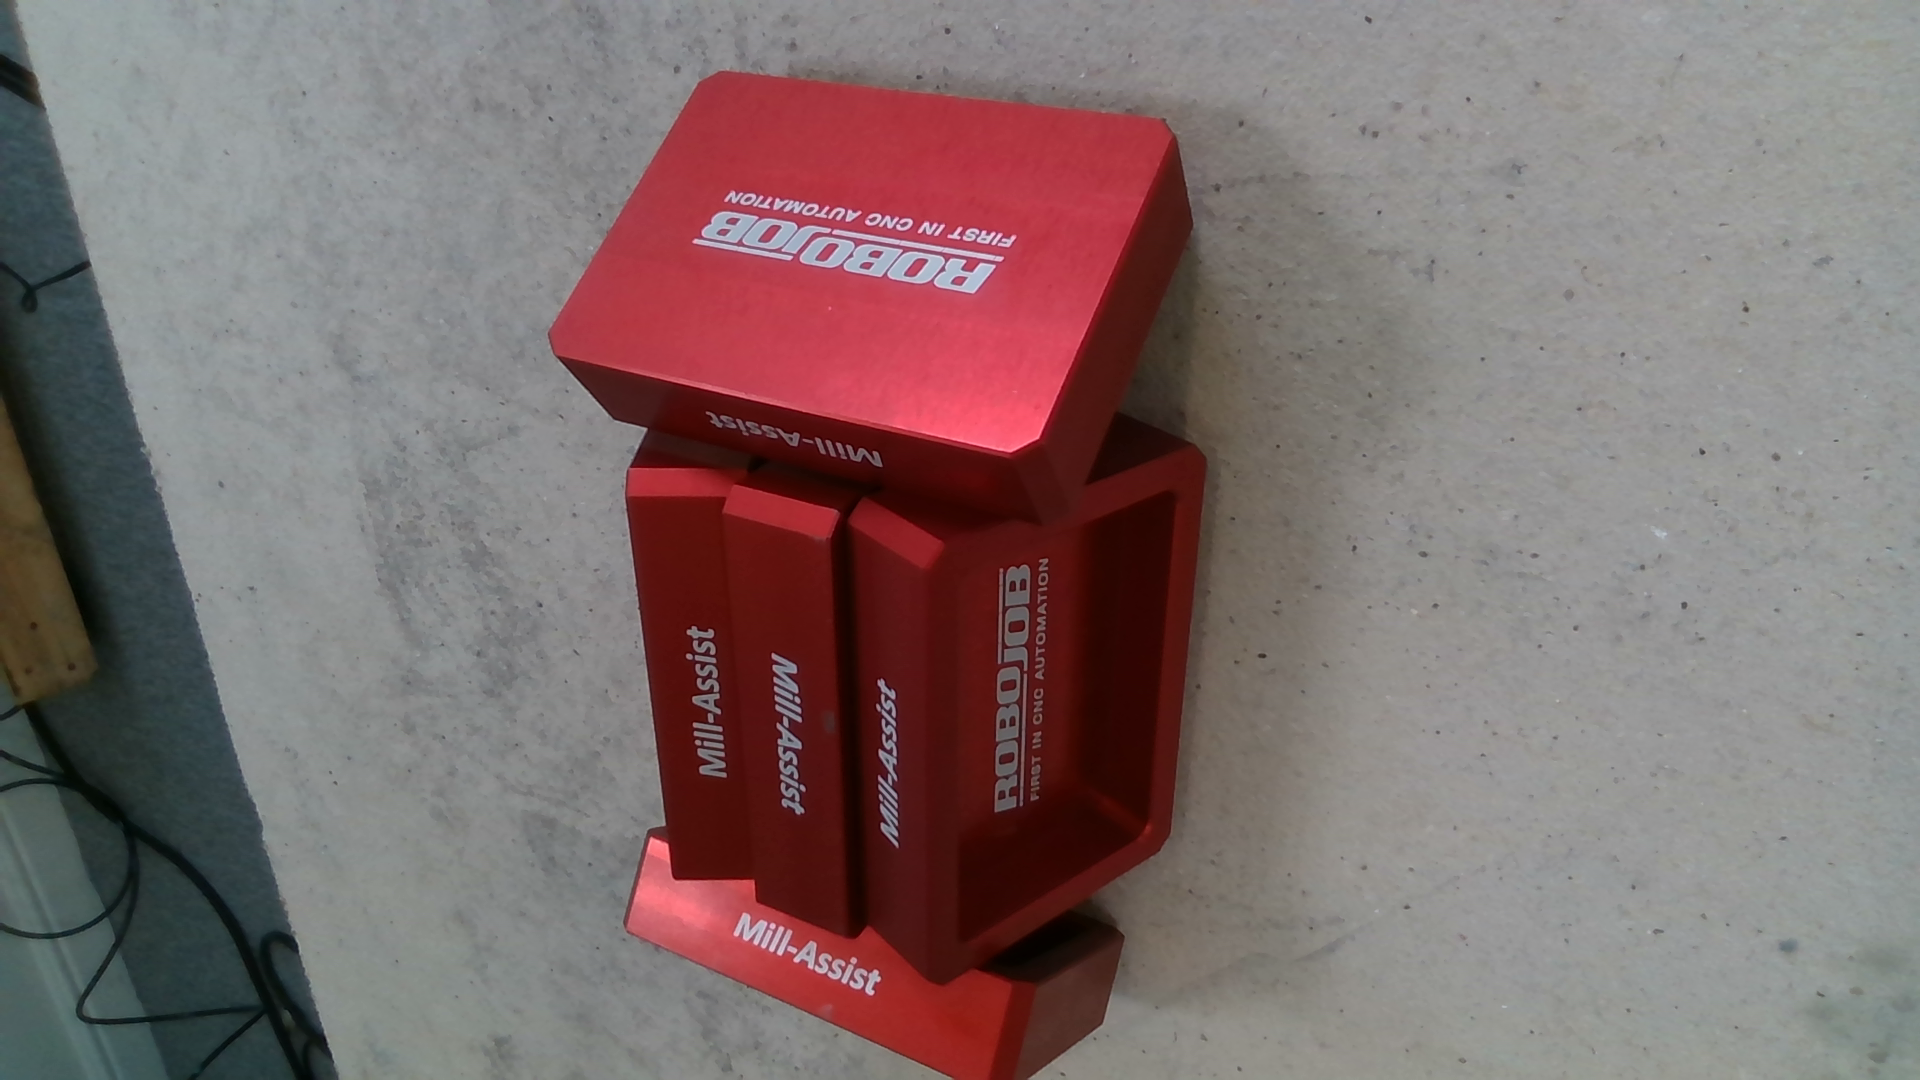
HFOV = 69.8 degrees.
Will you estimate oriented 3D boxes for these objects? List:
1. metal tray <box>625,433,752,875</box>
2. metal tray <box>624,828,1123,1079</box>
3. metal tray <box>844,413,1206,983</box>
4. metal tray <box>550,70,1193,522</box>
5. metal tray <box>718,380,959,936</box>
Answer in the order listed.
[{"bbox_3d":[-0.066,0.020,0.397,0.030,0.090,0.130,0,119,-1],"label":"metal tray"},{"bbox_3d":[-0.025,0.120,0.427,0.130,0.090,0.030,15,90,24],"label":"metal tray"},{"bbox_3d":[0.017,0.040,0.355,0.030,0.090,0.130,30,131,43],"label":"metal tray"},{"bbox_3d":[-0.022,-0.063,0.327,0.130,0.090,0.030,15,158,25],"label":"metal tray"},{"bbox_3d":[-0.022,0.030,0.376,0.030,0.090,0.130,15,122,25],"label":"metal tray"}]
